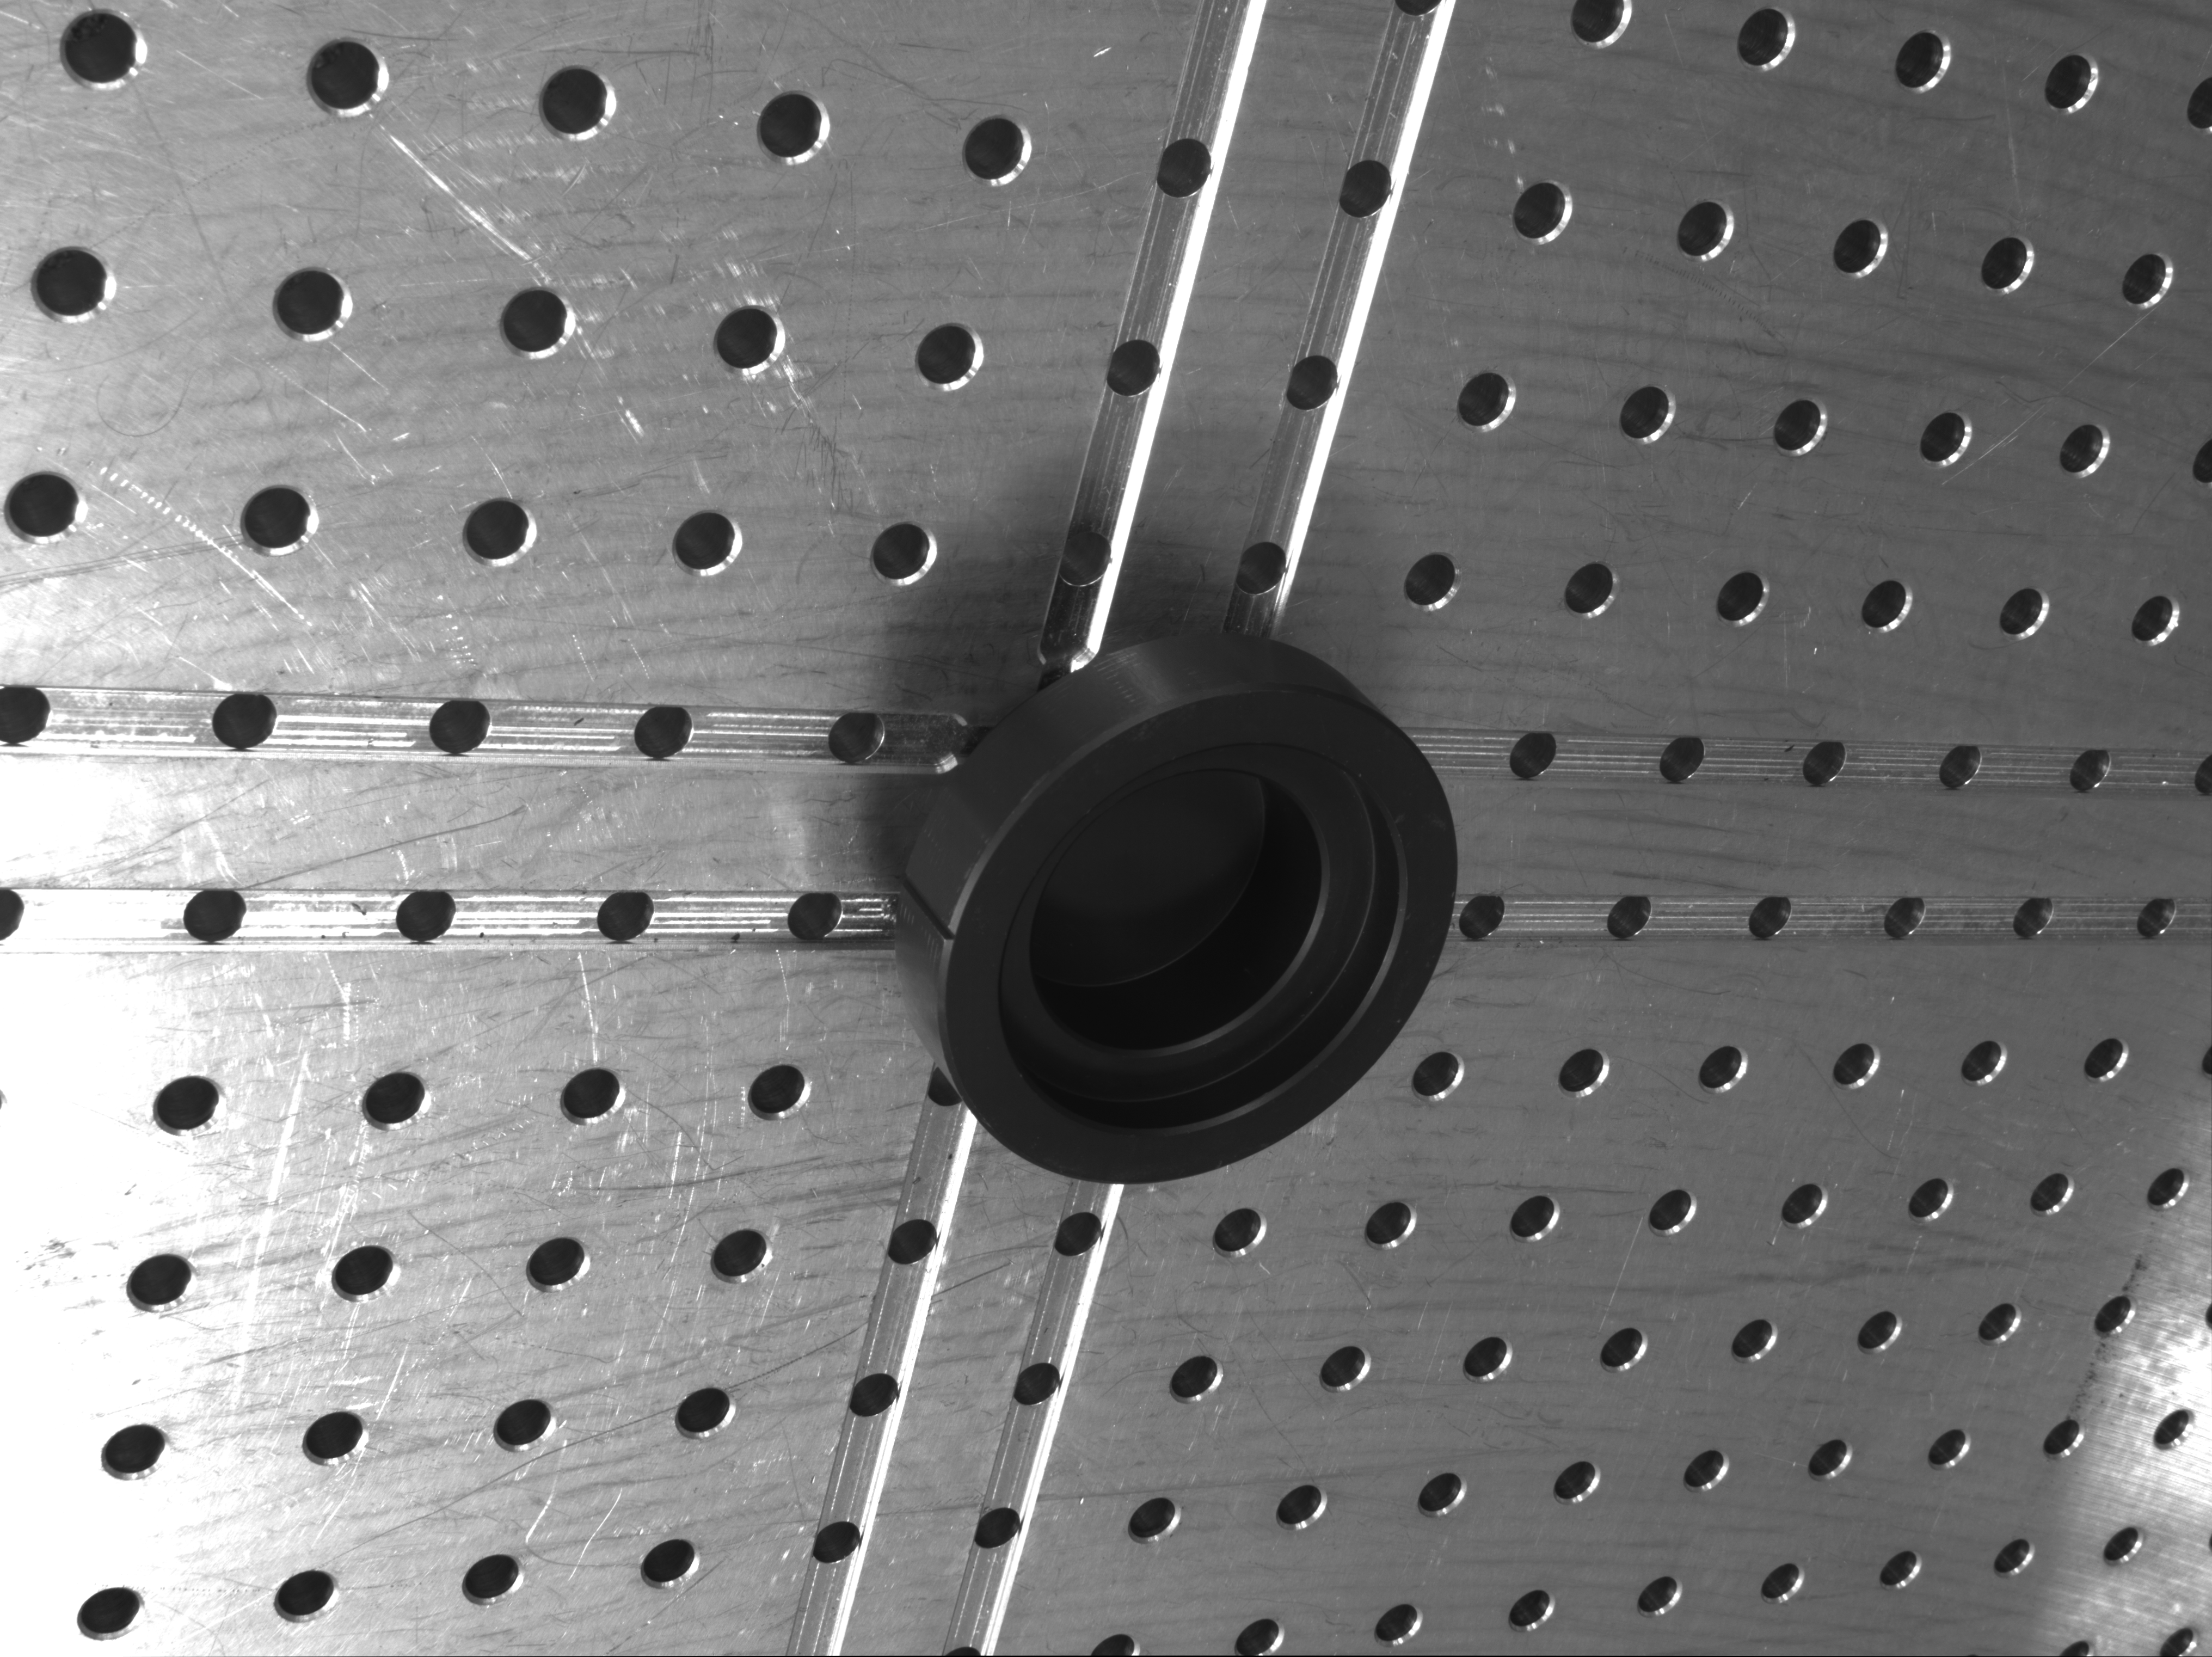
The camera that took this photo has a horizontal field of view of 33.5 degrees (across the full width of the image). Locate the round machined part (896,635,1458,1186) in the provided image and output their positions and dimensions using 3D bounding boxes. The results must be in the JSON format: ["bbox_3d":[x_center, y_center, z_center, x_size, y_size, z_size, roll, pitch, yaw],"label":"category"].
[{"bbox_3d":[0.009,0.010,0.640,0.098,0.042,0.098,-13,124,-21],"label":"round machined part"}]
